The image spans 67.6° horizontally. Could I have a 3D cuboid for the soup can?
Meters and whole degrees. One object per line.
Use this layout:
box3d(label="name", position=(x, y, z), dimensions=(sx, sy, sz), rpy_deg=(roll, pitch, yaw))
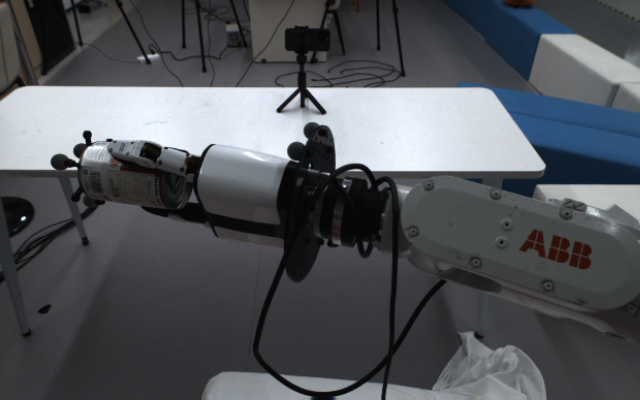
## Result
box3d(label="soup can", position=(-0.198, -0.026, 0.532), dimensions=(0.101, 0.067, 0.067), rpy_deg=(7, 35, 10))
